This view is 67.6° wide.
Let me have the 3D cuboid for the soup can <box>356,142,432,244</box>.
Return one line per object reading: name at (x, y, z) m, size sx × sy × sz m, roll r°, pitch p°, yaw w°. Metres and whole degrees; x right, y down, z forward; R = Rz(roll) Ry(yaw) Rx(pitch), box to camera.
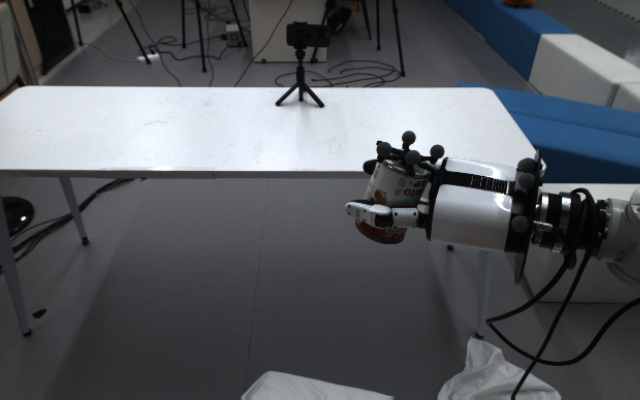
soup can at (0.092, -0.004, 0.606) m, size 0.067 × 0.101 × 0.067 m, roll 13°, pitch 30°, yaw -8°
